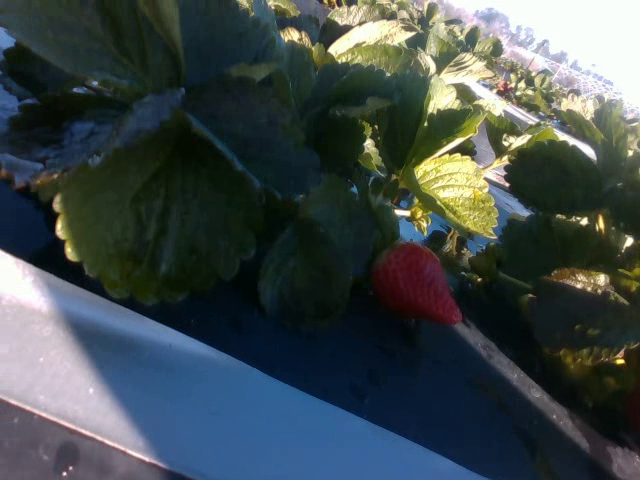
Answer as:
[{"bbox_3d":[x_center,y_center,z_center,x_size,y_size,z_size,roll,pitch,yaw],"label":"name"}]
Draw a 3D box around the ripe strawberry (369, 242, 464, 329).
[{"bbox_3d":[0.050,0.023,0.301,0.045,0.059,0.042,-29,-27,-19],"label":"ripe strawberry"}]
